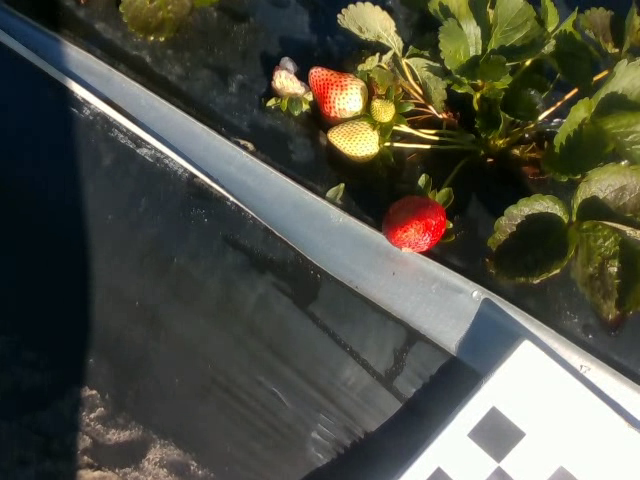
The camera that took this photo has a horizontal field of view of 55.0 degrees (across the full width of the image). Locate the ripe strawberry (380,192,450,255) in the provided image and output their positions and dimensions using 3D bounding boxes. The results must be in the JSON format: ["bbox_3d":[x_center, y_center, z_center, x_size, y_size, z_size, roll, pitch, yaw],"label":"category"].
[{"bbox_3d":[0.044,-0.008,0.305,0.036,0.038,0.045,39,19,16],"label":"ripe strawberry"}]
